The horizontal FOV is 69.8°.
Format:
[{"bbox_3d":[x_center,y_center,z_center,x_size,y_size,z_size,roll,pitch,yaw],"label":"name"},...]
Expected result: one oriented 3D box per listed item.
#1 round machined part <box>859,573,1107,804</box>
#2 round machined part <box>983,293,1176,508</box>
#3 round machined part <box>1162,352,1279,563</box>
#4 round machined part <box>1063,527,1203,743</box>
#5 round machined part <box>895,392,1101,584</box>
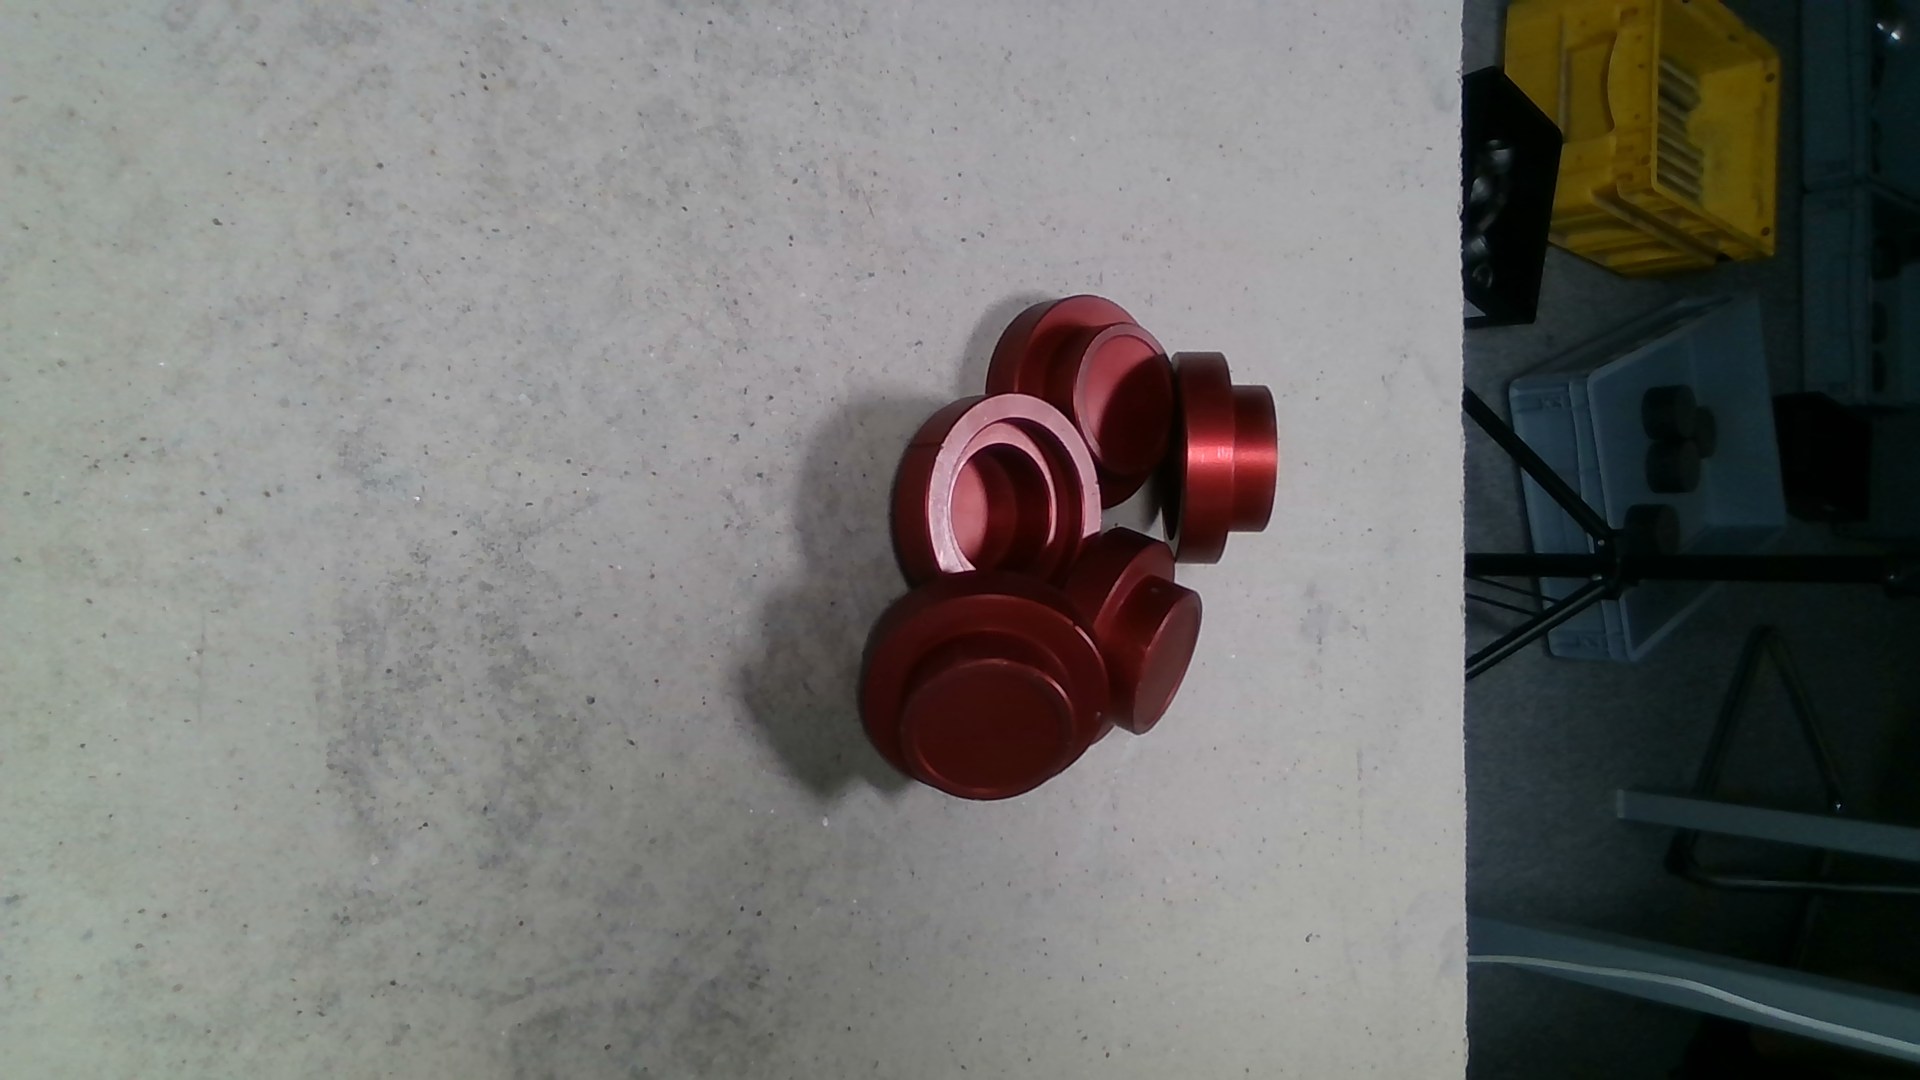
[{"bbox_3d":[0.009,0.065,0.544,0.098,0.098,0.042,54,17,-26],"label":"round machined part"},{"bbox_3d":[0.060,-0.063,0.625,0.098,0.042,0.098,0,90,-40],"label":"round machined part"},{"bbox_3d":[0.119,-0.037,0.635,0.042,0.098,0.098,1,89,2],"label":"round machined part"},{"bbox_3d":[0.074,0.047,0.606,0.098,0.042,0.098,-45,148,-40],"label":"round machined part"},{"bbox_3d":[0.011,-0.012,0.581,0.098,0.042,0.098,0,90,-40],"label":"round machined part"}]
